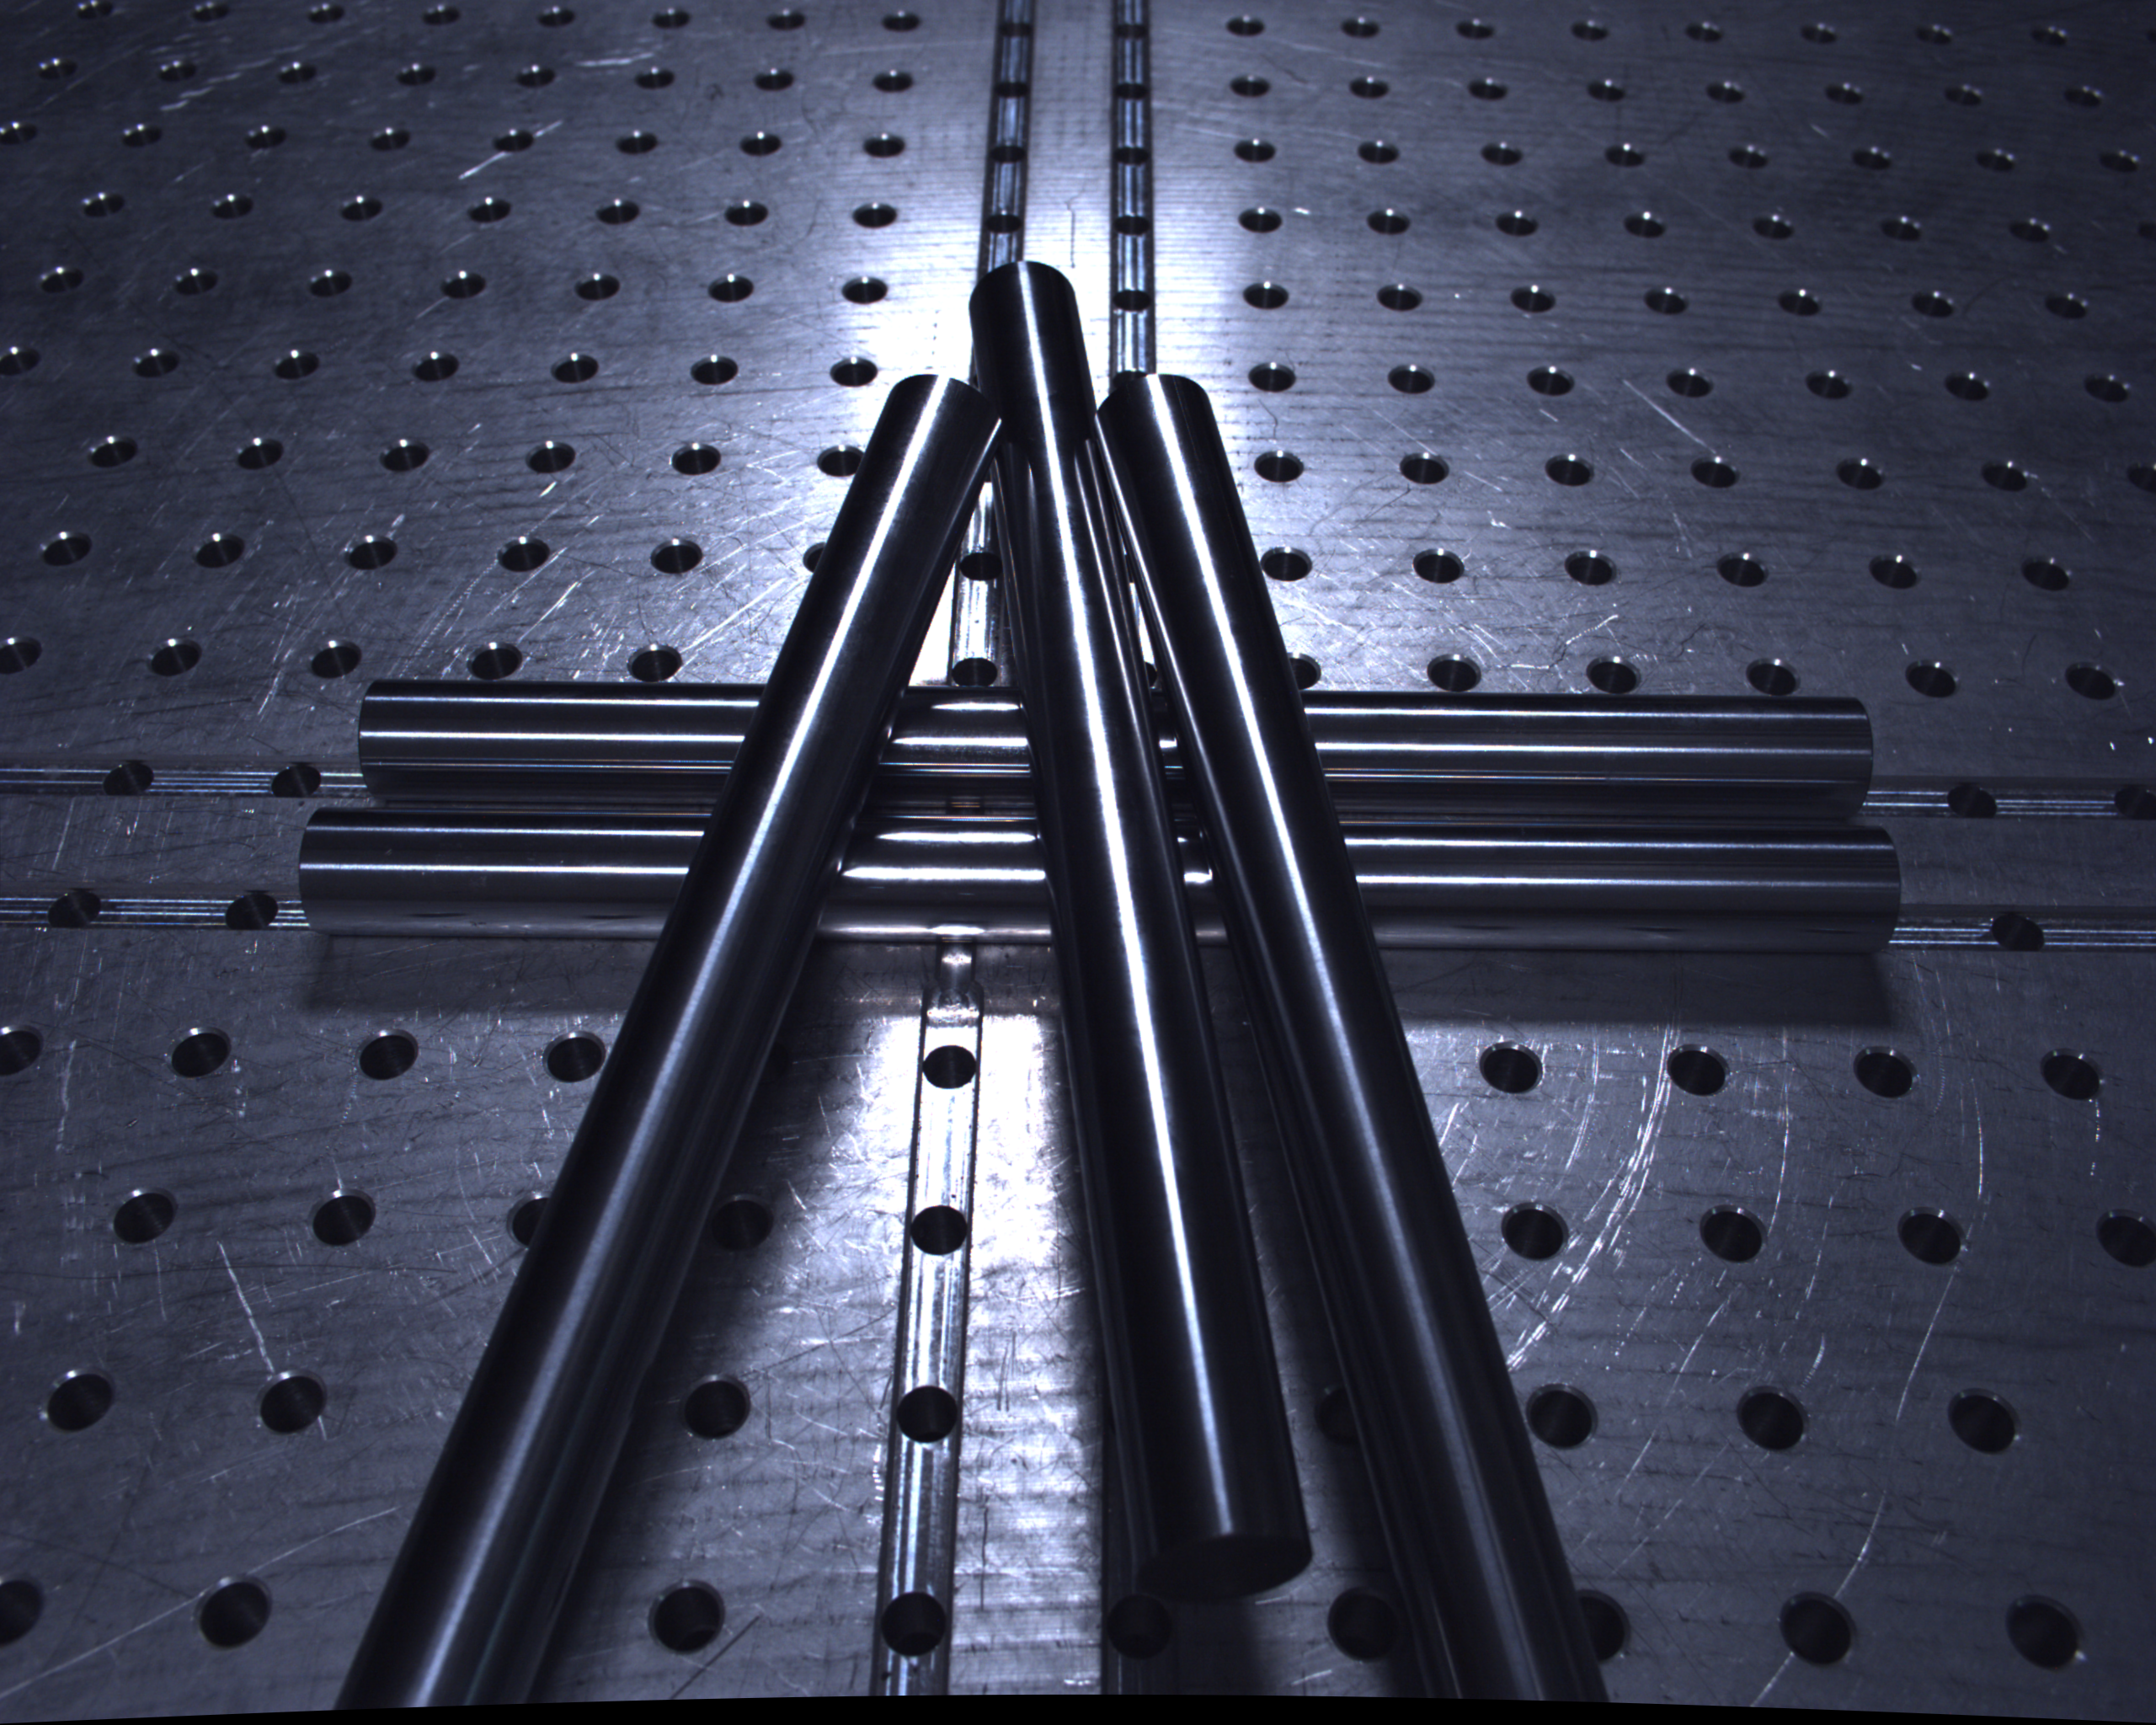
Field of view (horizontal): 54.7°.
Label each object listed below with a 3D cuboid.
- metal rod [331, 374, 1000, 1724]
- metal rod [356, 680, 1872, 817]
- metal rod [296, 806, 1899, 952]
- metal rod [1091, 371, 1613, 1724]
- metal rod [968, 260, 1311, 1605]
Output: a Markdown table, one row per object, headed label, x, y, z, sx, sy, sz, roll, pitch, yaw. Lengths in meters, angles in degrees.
| label | x | y | z | sx | sy | sz | roll | pitch | yaw |
| --- | --- | --- | --- | --- | --- | --- | --- | --- | --- |
| metal rod | -0.065 | 0.029 | 0.359 | 0.025 | 0.025 | 0.300 | 11 | 58 | 9 |
| metal rod | 0.007 | -0.023 | 0.428 | 0.302 | 0.025 | 0.025 | 1 | 50 | 0 |
| metal rod | 0.004 | 0.003 | 0.405 | 0.302 | 0.025 | 0.025 | 1 | 50 | 0 |
| metal rod | 0.043 | 0.030 | 0.359 | 0.025 | 0.025 | 0.299 | -8 | 58 | -7 |
| metal rod | 0.004 | -0.015 | 0.388 | 0.025 | 0.025 | 0.300 | -5 | 50 | -4 |
